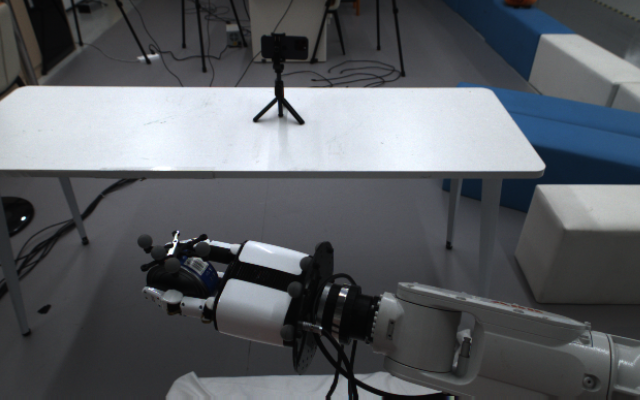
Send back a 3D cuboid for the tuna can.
[{"bbox_3d":[-0.170,0.104,0.610,0.085,0.085,0.034,11,33,13],"label":"tuna can"}]
